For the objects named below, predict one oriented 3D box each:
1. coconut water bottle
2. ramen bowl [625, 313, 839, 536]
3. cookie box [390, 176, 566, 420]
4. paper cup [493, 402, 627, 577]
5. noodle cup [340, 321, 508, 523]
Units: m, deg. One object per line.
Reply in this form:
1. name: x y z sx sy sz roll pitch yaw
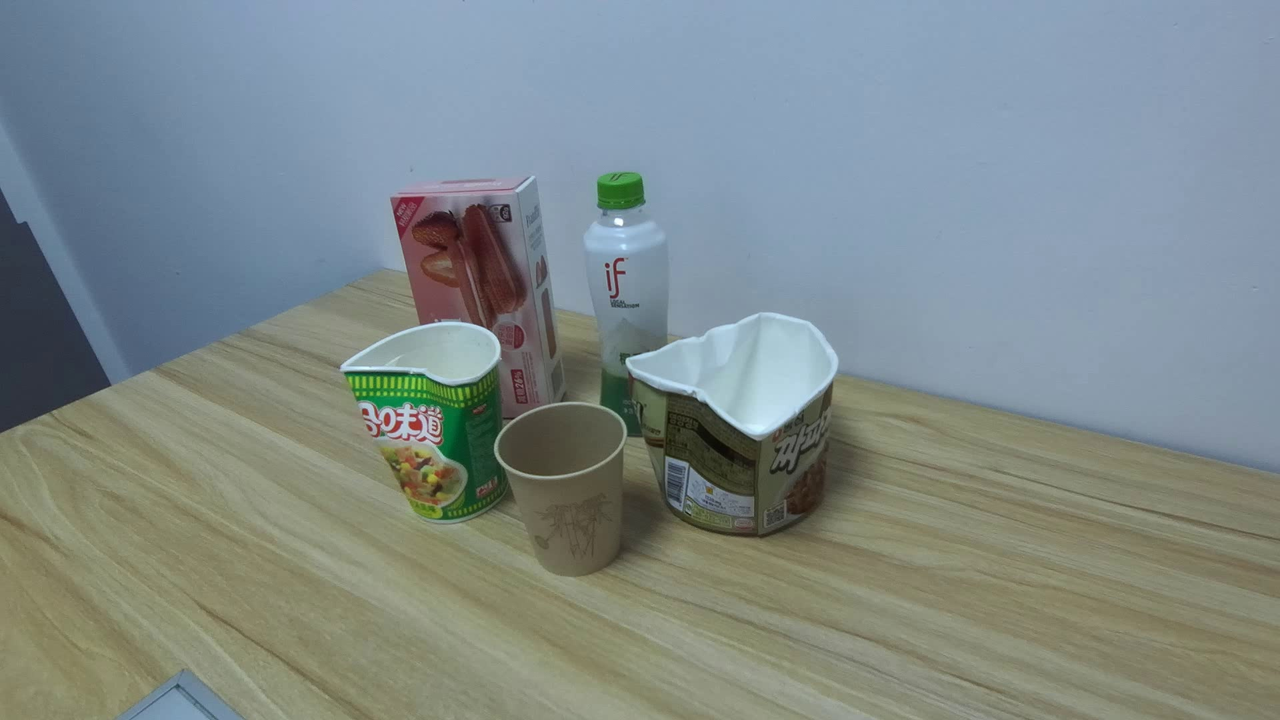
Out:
1. coconut water bottle: -0.005 -0.037 0.512 0.063 0.189 0.063 -4 28 2
2. ramen bowl: 0.070 0.036 0.460 0.113 0.098 0.134 21 39 39
3. cookie box: -0.119 -0.043 0.548 0.096 0.185 0.048 -1 27 9
4. paper cup: -0.041 0.080 0.419 0.075 0.082 0.075 -4 29 2
5. noodle cup: -0.127 0.044 0.471 0.093 0.109 0.087 20 37 37
